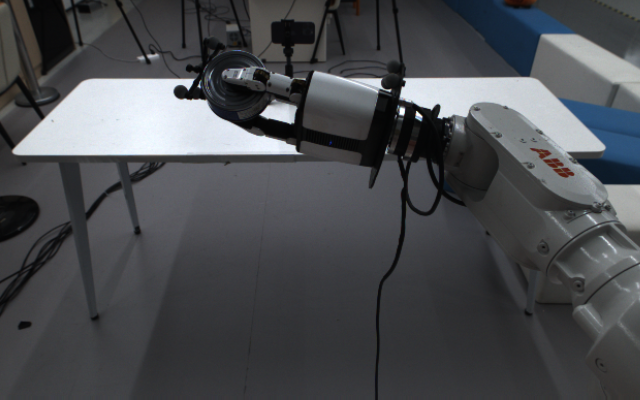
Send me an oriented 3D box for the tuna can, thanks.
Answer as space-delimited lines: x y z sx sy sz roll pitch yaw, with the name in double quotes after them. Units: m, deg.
-0.105 -0.146 0.615 0.085 0.034 0.085 0 75 -1 "tuna can"
